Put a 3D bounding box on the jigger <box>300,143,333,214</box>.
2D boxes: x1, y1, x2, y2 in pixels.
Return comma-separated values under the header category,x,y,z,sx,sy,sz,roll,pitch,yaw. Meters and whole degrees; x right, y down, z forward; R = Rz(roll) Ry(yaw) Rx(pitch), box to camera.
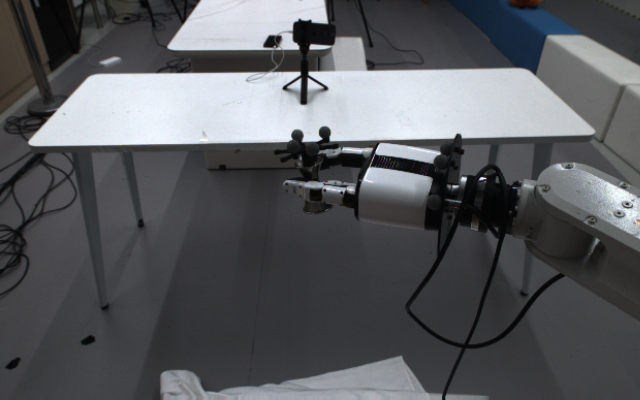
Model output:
category,x,y,z,sx,sy,sz,roll,pitch,yaw
jigger,-0.007,-0.022,0.659,0.043,0.071,0.043,-11,23,5
